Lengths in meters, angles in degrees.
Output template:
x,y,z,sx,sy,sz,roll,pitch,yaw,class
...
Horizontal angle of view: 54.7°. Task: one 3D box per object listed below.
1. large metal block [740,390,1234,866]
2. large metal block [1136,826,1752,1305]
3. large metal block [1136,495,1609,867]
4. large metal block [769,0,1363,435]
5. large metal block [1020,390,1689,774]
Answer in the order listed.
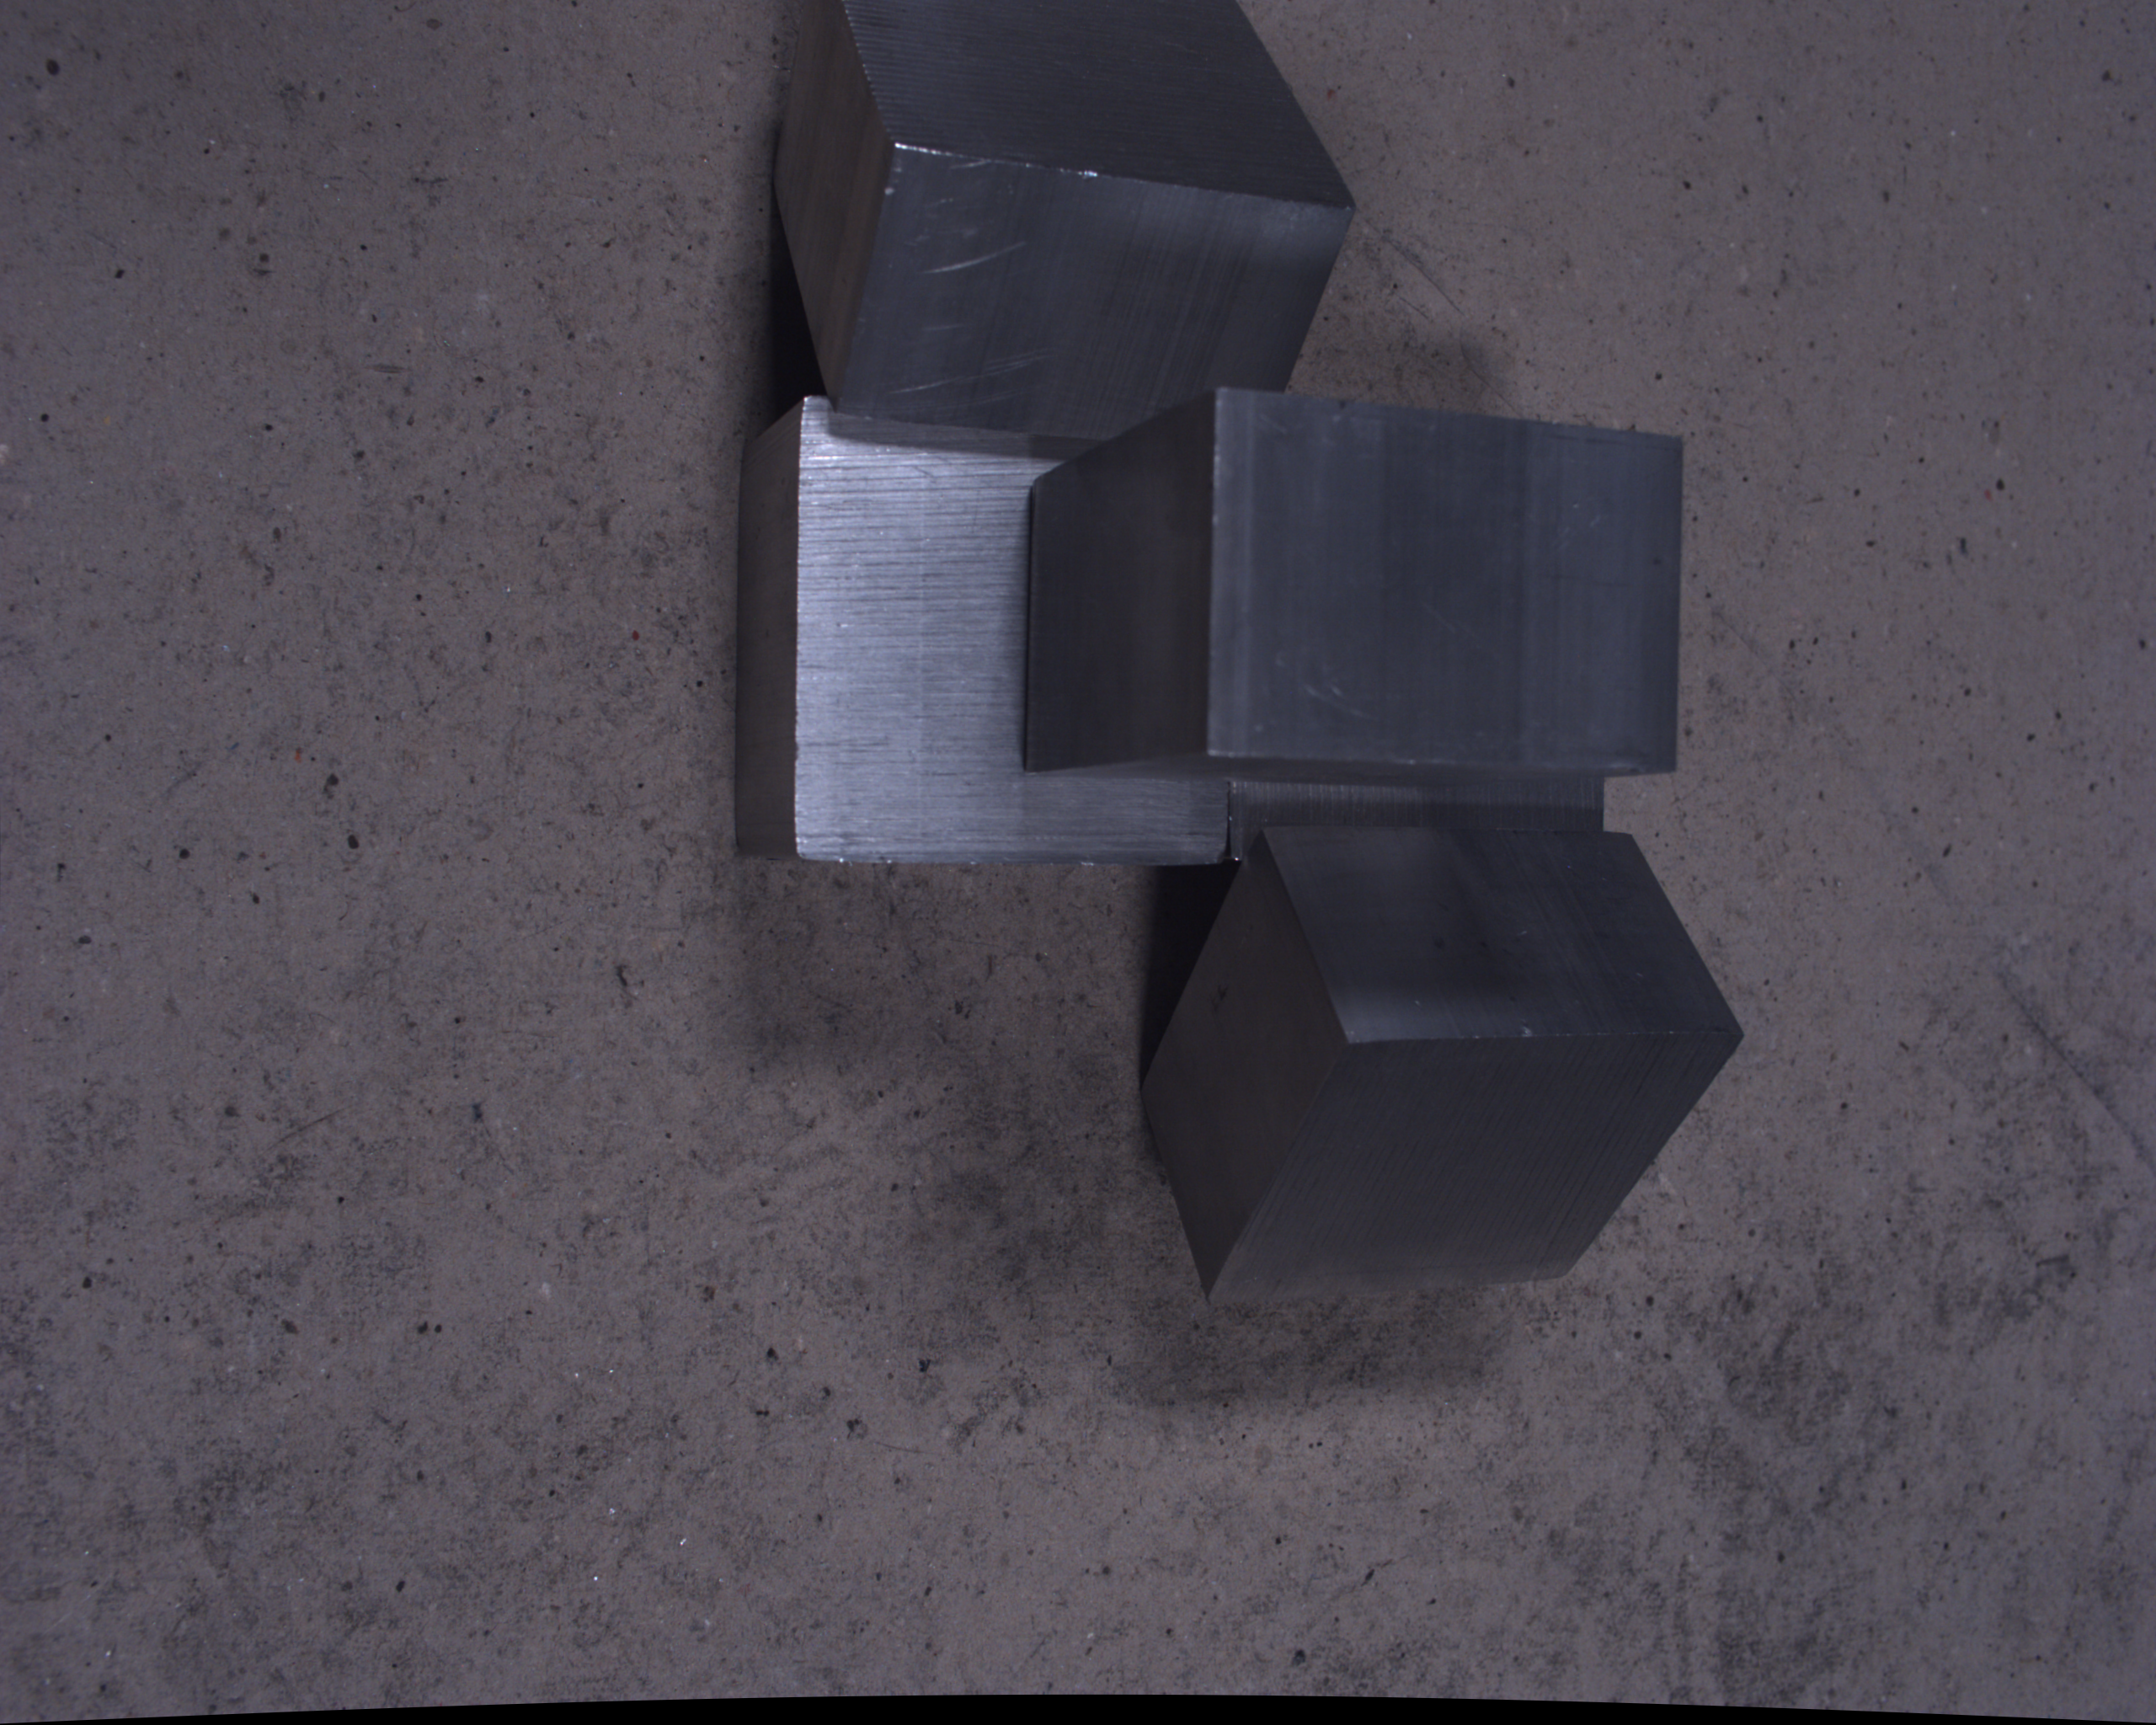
x,y,z,sx,sy,sz,roll,pitch,yaw,class
-0.018,-0.040,0.389,0.081,0.050,0.079,1,90,-21,large metal block
0.066,0.039,0.400,0.081,0.079,0.050,0,46,-21,large metal block
0.058,-0.040,0.418,0.081,0.050,0.079,1,90,-21,large metal block
-0.006,-0.121,0.373,0.081,0.050,0.080,1,46,-20,large metal block
0.042,-0.041,0.345,0.081,0.080,0.050,1,90,-20,large metal block
